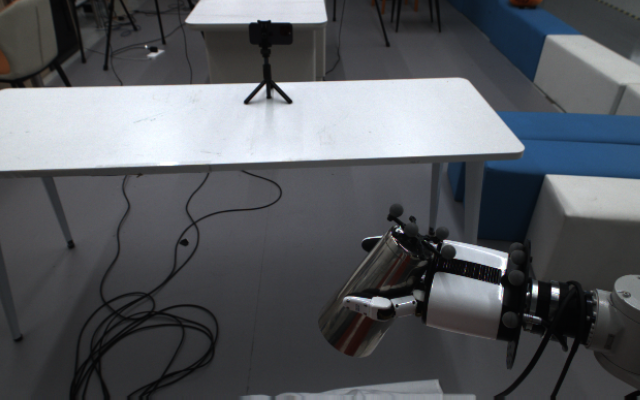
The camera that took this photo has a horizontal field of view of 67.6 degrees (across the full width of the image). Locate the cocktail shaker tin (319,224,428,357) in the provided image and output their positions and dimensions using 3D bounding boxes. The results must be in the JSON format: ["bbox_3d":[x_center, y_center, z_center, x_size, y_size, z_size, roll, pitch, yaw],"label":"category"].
[{"bbox_3d":[0.077,0.113,0.642,0.093,0.170,0.093,25,29,-15],"label":"cocktail shaker tin"}]
